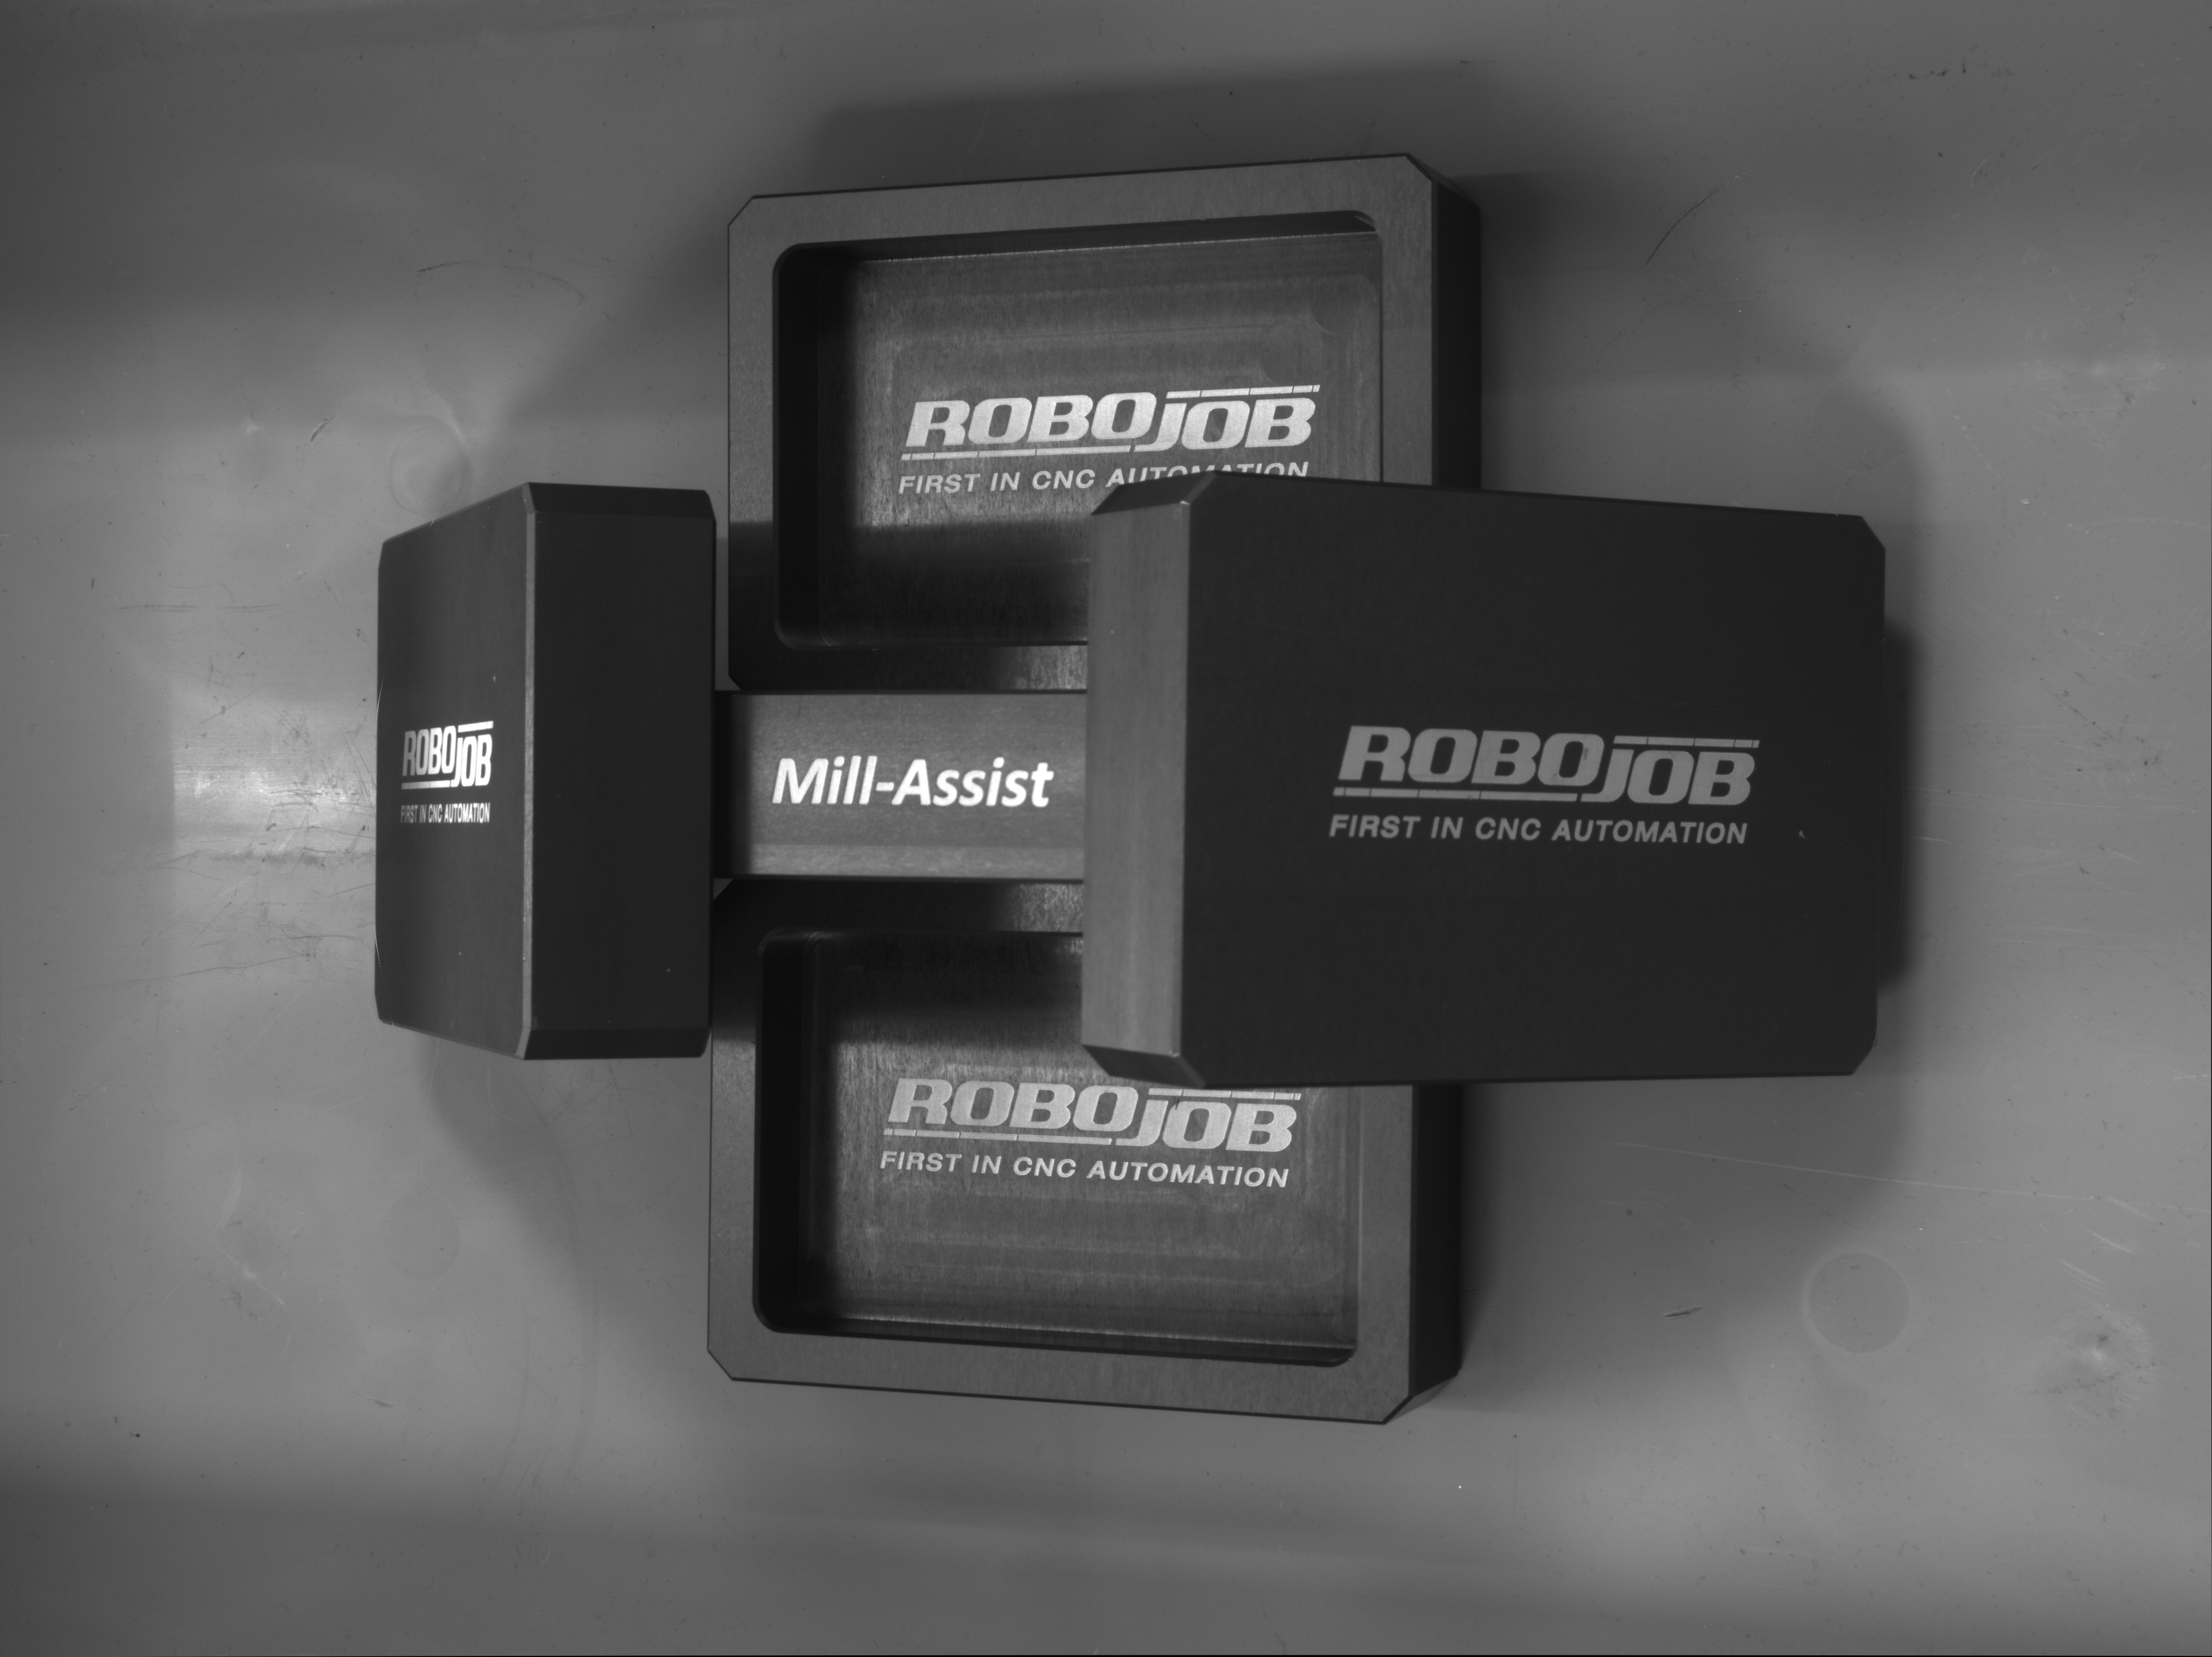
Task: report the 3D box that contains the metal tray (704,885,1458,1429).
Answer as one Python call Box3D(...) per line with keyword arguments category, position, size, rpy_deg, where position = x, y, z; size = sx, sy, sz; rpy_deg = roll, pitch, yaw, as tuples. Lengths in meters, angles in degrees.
Box3D(category="metal tray", position=(-0.005, 0.054, 0.642), size=(0.130, 0.030, 0.090), rpy_deg=(0, 90, 19))

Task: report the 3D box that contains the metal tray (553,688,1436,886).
Box3D(category="metal tray", position=(-0.016, -0.006, 0.616), size=(0.130, 0.090, 0.030), rpy_deg=(0, 90, 19))

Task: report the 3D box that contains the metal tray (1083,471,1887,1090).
Box3D(category="metal tray", position=(0.061, -0.006, 0.574), size=(0.030, 0.130, 0.090), rpy_deg=(1, 90, 62))

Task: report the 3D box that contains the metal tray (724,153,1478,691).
Box3D(category="metal tray", position=(-0.002, -0.067, 0.643), size=(0.130, 0.030, 0.090), rpy_deg=(0, 90, 19))

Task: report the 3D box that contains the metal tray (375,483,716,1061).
Box3D(category="metal tray", position=(-0.099, -0.009, 0.632), size=(0.030, 0.130, 0.090), rpy_deg=(1, 90, -21))
